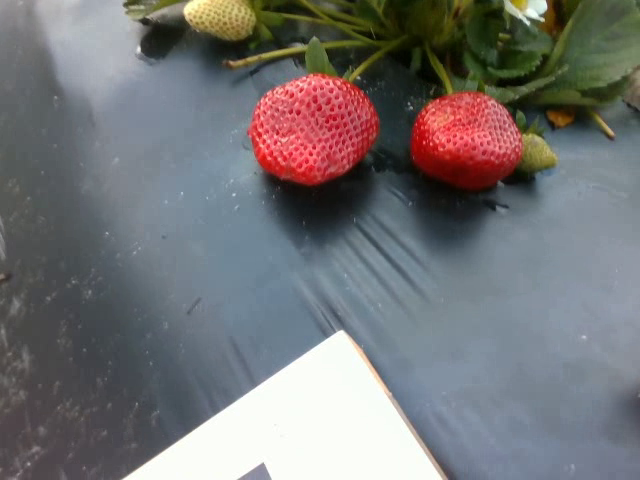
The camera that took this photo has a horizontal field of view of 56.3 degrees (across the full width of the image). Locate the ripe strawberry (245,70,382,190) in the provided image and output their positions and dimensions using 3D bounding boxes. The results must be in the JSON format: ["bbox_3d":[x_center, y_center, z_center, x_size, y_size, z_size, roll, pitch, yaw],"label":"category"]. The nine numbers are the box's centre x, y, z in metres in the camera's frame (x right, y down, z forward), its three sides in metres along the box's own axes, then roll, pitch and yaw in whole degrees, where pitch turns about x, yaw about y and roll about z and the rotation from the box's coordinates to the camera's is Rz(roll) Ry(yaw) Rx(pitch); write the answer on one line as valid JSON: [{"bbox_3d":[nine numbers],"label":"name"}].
[{"bbox_3d":[-0.005,-0.044,0.247,0.058,0.065,0.044,-14,-49,24],"label":"ripe strawberry"}]

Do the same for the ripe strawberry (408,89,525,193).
[{"bbox_3d":[0.061,-0.042,0.247,0.050,0.051,0.059,-20,8,21],"label":"ripe strawberry"}]
